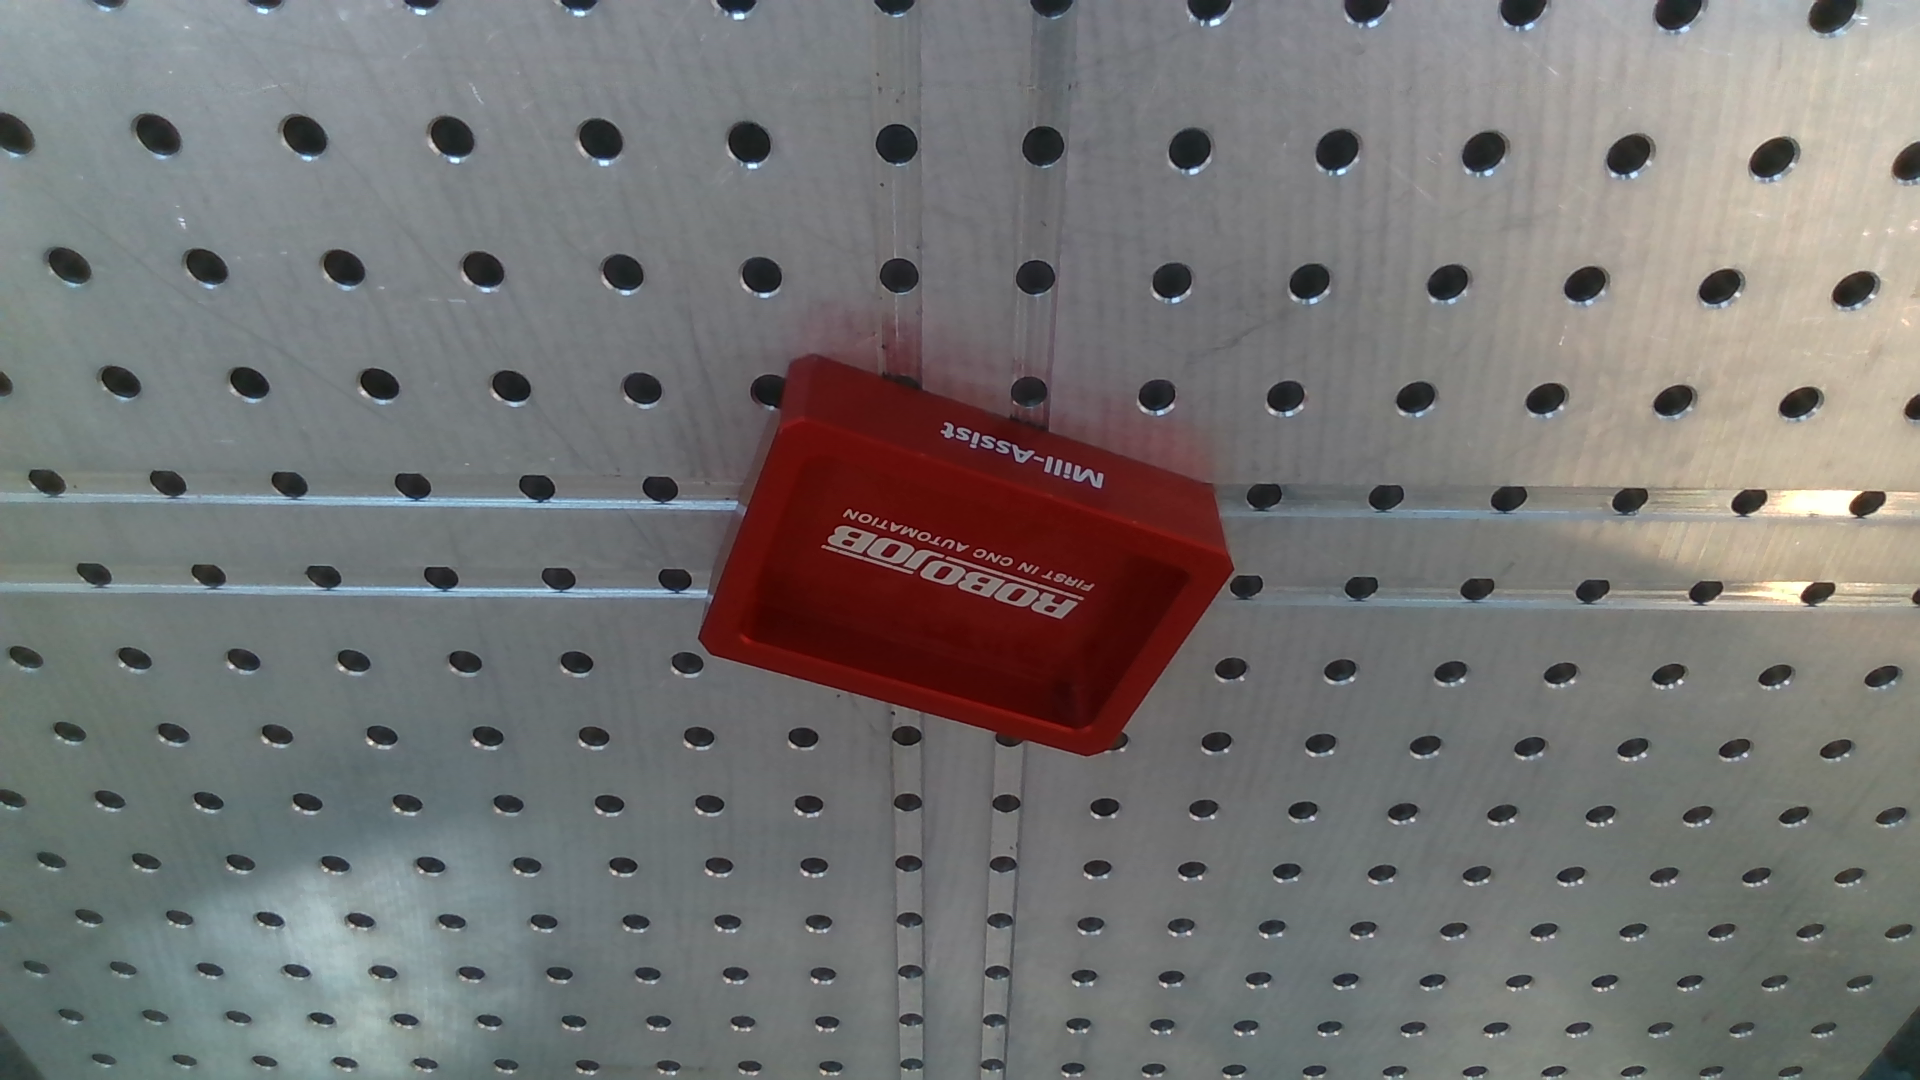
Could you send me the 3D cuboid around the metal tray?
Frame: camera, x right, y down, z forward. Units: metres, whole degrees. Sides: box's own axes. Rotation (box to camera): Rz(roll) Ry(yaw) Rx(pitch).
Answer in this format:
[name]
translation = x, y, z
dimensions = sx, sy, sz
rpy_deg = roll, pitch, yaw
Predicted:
[metal tray]
translation = 0.000, 0.009, 0.395
dimensions = 0.130, 0.030, 0.090
rpy_deg = 17, 129, -14
